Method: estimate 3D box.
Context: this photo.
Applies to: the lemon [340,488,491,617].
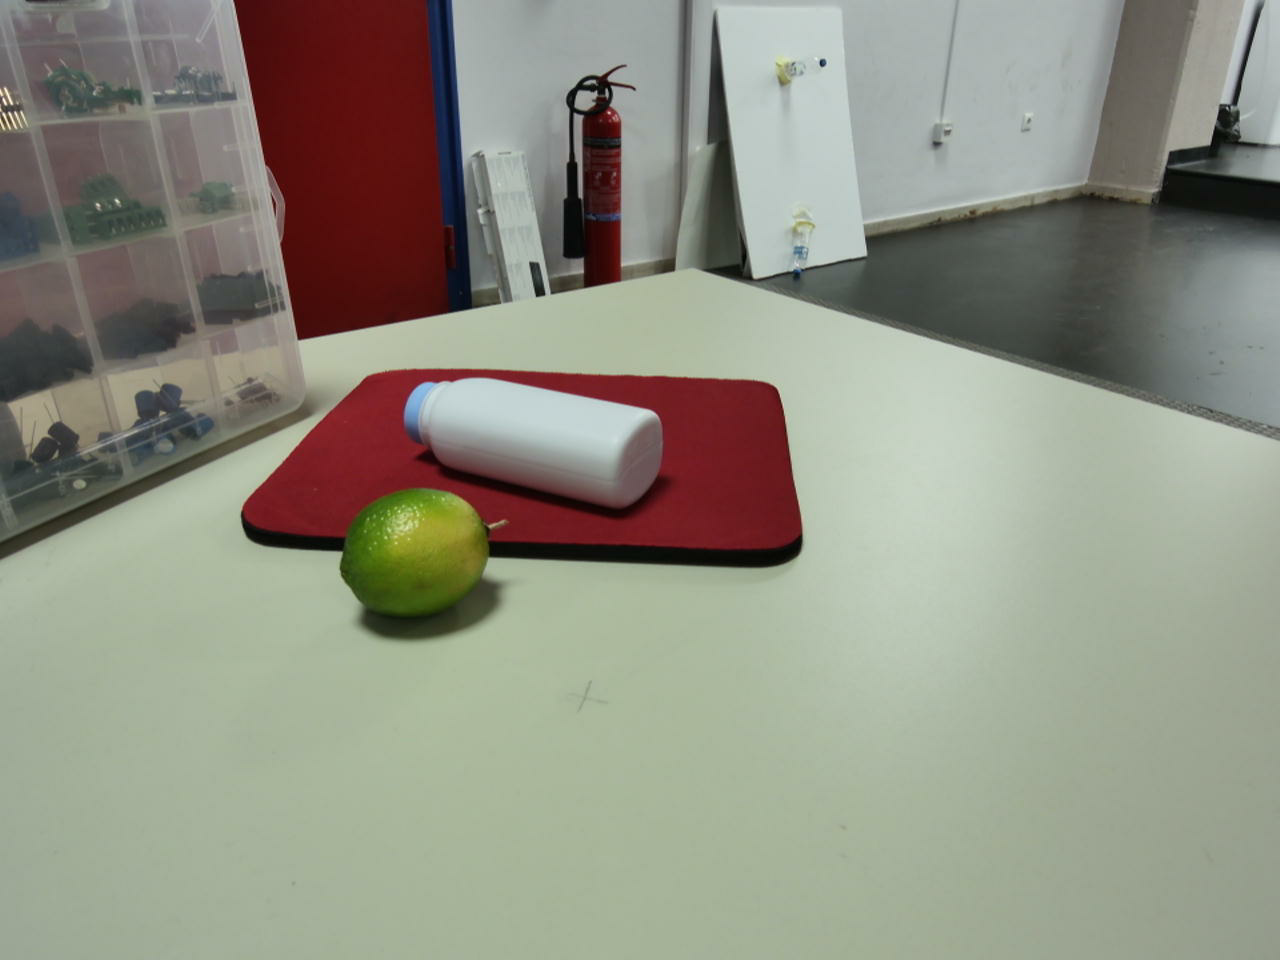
[{"bbox_3d":[-0.089,0.028,0.398,0.055,0.050,0.054,5,24,10],"label":"lemon"}]
